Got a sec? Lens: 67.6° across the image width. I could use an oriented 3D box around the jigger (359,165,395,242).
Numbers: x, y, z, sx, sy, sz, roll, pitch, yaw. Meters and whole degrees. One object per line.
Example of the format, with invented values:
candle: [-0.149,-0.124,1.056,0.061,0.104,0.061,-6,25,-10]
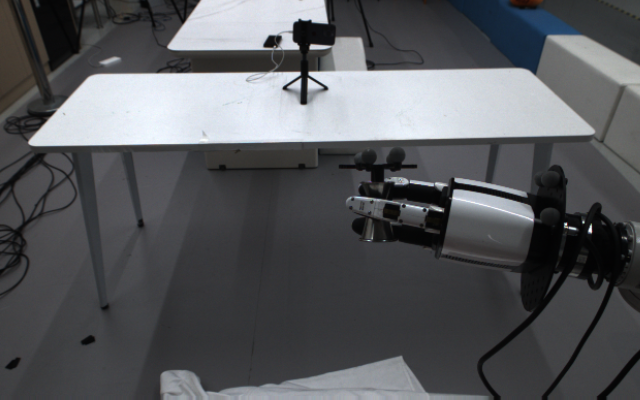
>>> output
jigger: [0.067,0.012,0.562,0.043,0.071,0.043,-1,2,0]
